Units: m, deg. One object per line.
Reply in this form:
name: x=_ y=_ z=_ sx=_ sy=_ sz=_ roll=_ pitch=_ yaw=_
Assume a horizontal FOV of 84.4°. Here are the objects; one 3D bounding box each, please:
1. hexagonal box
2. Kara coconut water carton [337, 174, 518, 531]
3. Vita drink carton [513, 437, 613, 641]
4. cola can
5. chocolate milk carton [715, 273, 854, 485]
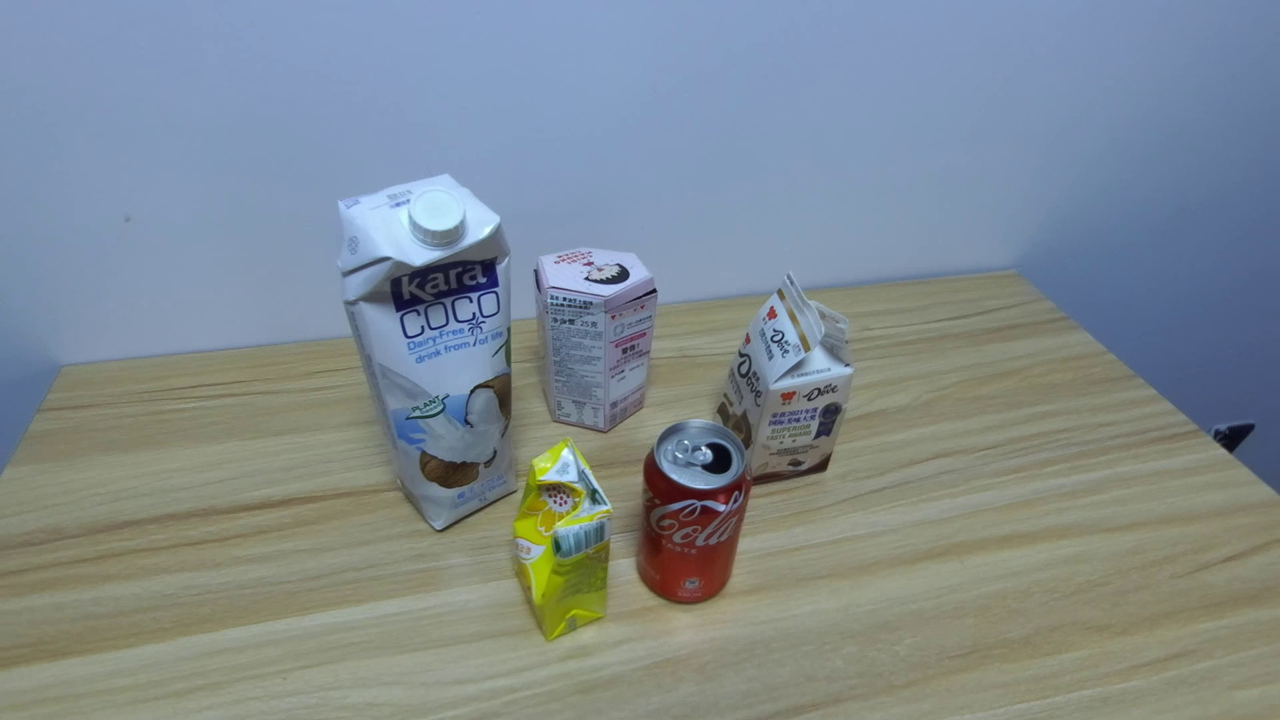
hexagonal box: x=-0.037 y=-0.018 z=0.569 sx=0.092 sy=0.135 sz=0.084 roll=-30 pitch=50 yaw=-33
Kara coconut water carton: x=-0.128 y=-0.002 z=0.461 sx=0.100 sy=0.244 sz=0.071 roll=-29 pitch=50 yaw=-32
Vita drink carton: x=-0.052 y=0.112 z=0.439 sx=0.046 sy=0.110 sz=0.071 roll=-16 pitch=43 yaw=-24
cola can: x=0.034 y=0.097 z=0.453 sx=0.068 sy=0.120 sz=0.067 roll=2 pitch=41 yaw=-1
chocolate milk carton: x=0.109 y=0.012 z=0.528 sx=0.073 sy=0.155 sz=0.084 roll=-8 pitch=41 yaw=-13
